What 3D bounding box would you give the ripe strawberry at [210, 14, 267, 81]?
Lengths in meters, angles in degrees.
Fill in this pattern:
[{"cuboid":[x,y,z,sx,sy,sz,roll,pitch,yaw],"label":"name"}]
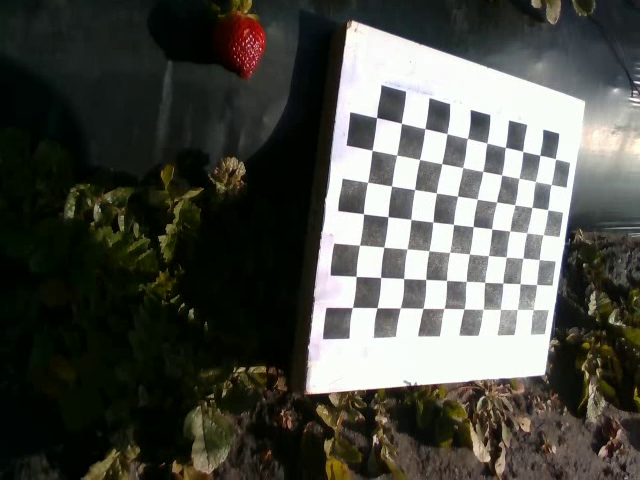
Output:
[{"cuboid":[-0.050,-0.115,0.356,0.040,0.044,0.036,-17,3,-29],"label":"ripe strawberry"}]
